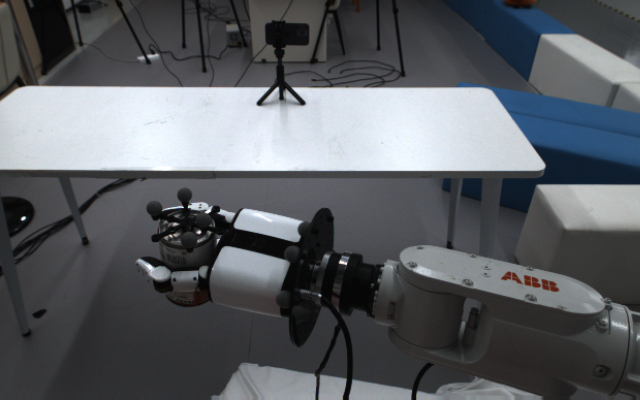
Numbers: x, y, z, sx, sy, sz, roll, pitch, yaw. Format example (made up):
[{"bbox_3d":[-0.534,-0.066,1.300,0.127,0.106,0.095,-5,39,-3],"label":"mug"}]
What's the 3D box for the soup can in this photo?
[{"bbox_3d":[-0.157,0.072,0.587,0.067,0.101,0.067,5,37,-4],"label":"soup can"}]
